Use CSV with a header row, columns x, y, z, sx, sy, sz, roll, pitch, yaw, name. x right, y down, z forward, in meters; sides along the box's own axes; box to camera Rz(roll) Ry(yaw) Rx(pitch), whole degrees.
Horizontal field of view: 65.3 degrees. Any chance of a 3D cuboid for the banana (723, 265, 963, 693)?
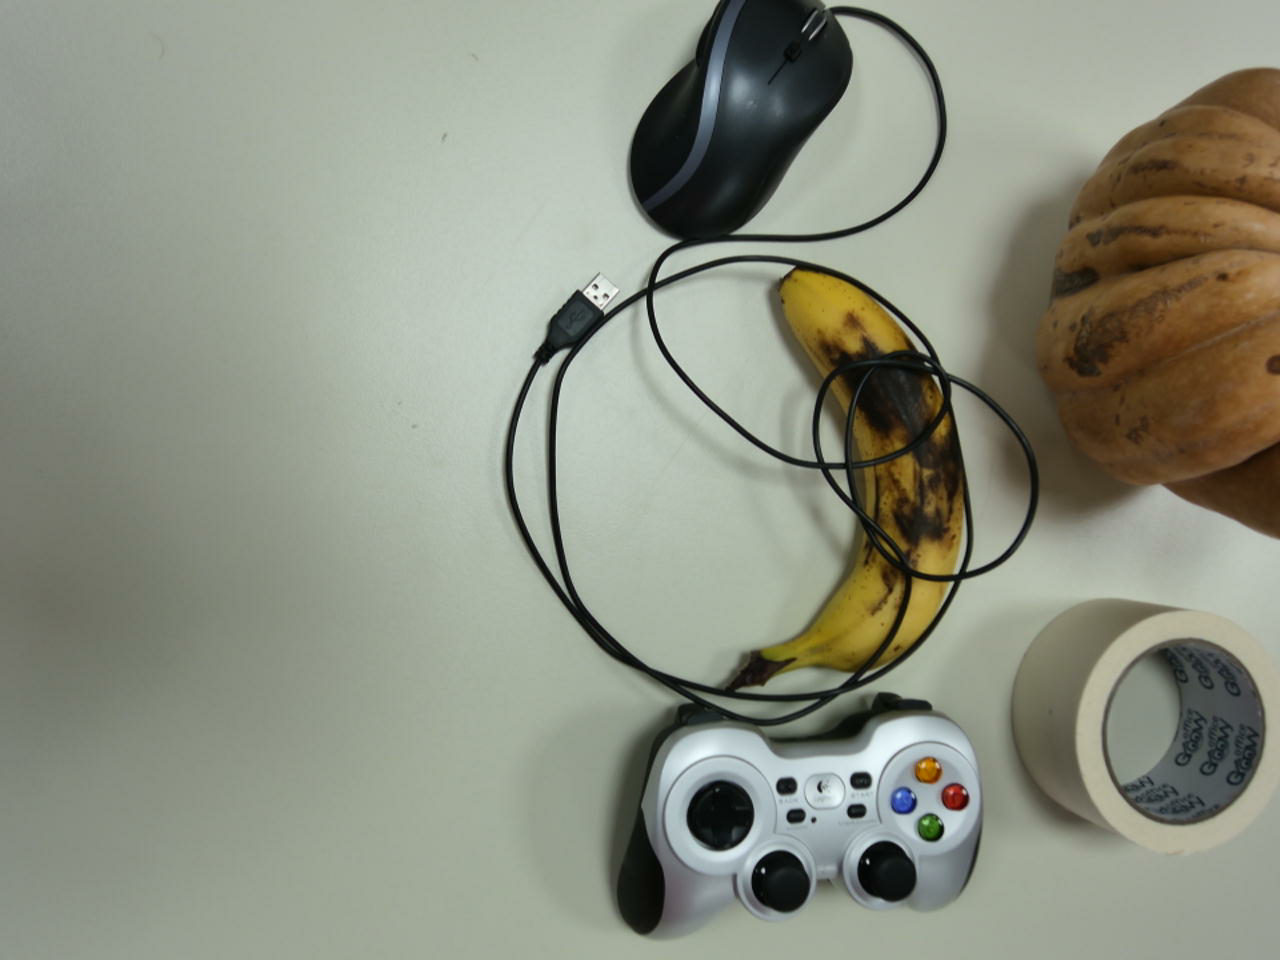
x,y,z,sx,sy,sz,roll,pitch,yaw,name
0.095,0.003,0.438,0.094,0.039,0.187,8,88,-11,banana
